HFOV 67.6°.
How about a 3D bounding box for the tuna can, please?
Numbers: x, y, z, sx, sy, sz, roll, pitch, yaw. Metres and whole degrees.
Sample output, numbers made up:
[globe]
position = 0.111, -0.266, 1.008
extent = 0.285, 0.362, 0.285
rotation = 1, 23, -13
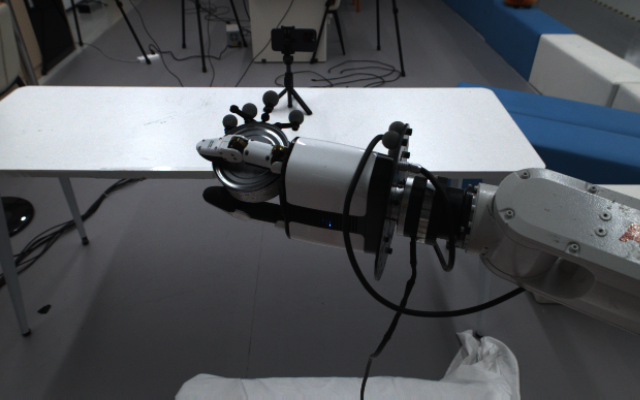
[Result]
[tuna can]
position = -0.070, -0.041, 0.528
extent = 0.085, 0.034, 0.085
rotation = -6, 60, 10
